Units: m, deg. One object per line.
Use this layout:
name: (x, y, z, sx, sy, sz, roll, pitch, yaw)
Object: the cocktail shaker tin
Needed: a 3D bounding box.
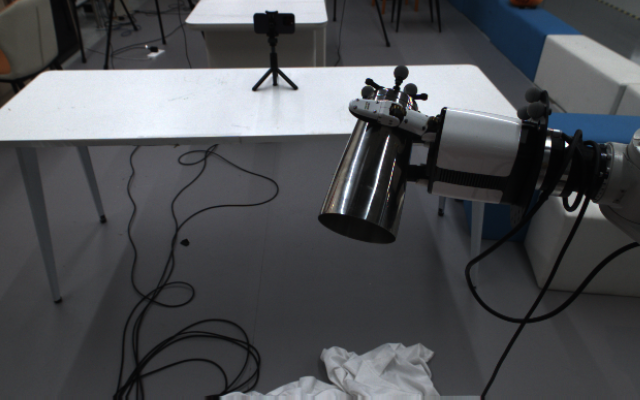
cocktail shaker tin: (0.068, -0.046, 0.579, 0.093, 0.093, 0.170, 13, 72, 15)
